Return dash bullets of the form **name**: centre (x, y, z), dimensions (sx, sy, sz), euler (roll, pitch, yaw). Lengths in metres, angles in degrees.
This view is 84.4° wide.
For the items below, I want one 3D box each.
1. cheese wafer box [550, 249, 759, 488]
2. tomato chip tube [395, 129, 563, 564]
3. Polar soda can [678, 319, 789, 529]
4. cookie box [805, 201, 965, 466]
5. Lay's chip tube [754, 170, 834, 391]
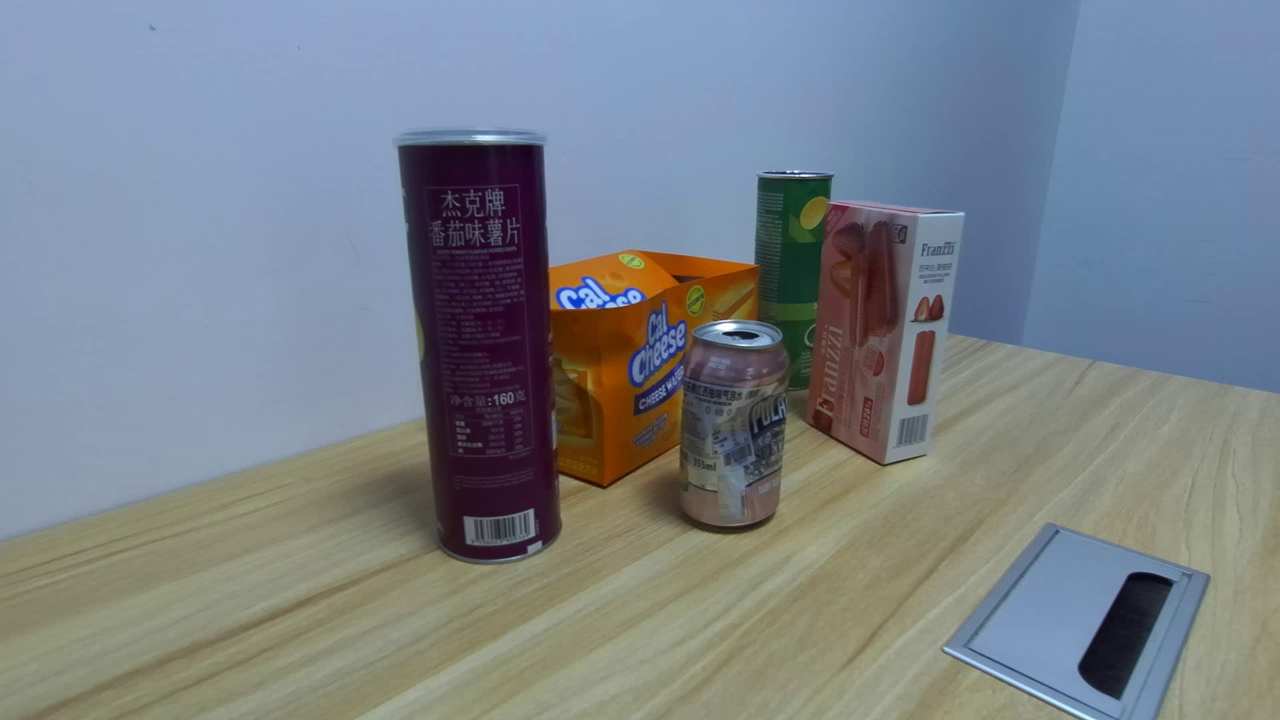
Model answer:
- **cheese wafer box**: centre (-0.016, -0.006, 0.584), dimensions (0.151, 0.132, 0.231), euler (13, 21, 34)
- **tomato chip tube**: centre (-0.087, -0.005, 0.403), dimensions (0.078, 0.234, 0.078), euler (0, 18, 0)
- **Polar soda can**: centre (0.060, 0.041, 0.443), dimensions (0.074, 0.122, 0.067), euler (-4, 17, -11)
- **cookie box**: centre (0.182, -0.024, 0.541), dimensions (0.048, 0.184, 0.096), euler (-6, 18, -25)
- **Lay's chip tube**: centre (0.145, -0.075, 0.669), dimensions (0.071, 0.202, 0.071), euler (1, 15, 0)
